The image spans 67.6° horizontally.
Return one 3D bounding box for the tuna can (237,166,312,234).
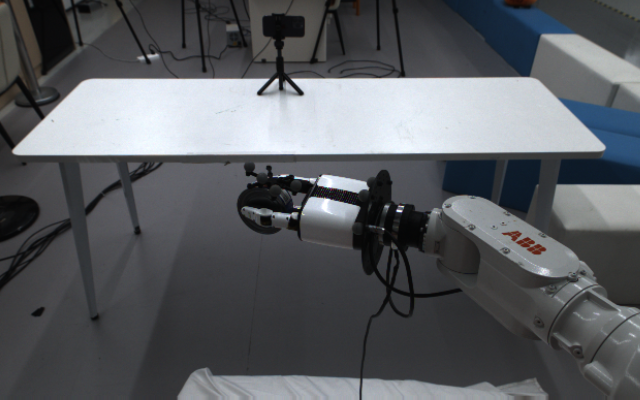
[{"bbox_3d":[-0.086,0.012,0.775,0.085,0.085,0.034,13,30,15],"label":"tuna can"}]
